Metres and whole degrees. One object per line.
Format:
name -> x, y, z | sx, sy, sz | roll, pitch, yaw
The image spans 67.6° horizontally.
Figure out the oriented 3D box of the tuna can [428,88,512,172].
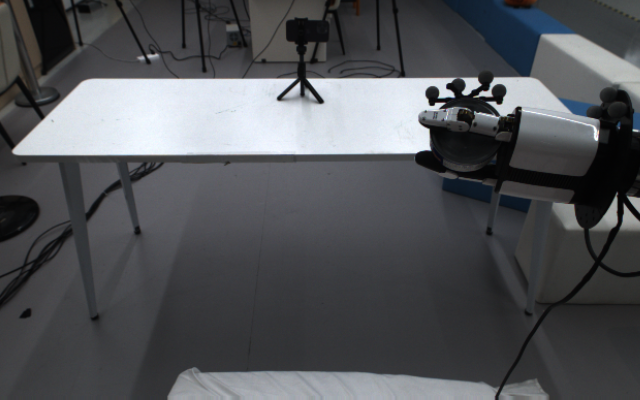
tuna can -> 0.177, -0.080, 0.592 | 0.085, 0.034, 0.085 | -3, 73, 11
